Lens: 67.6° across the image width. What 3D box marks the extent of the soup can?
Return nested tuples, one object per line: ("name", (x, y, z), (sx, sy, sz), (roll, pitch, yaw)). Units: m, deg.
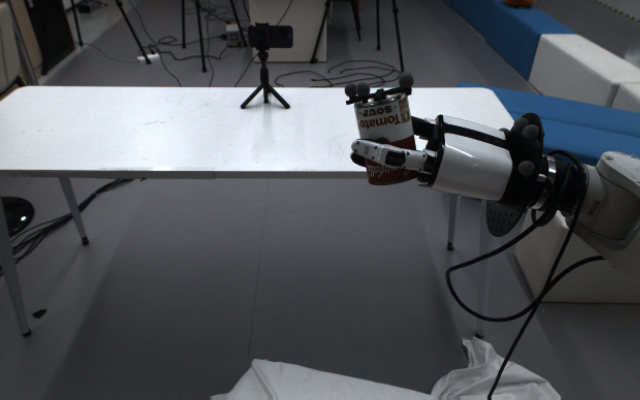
("soup can", (0.086, -0.077, 0.606), (0.067, 0.101, 0.067), (-12, 17, 4))
